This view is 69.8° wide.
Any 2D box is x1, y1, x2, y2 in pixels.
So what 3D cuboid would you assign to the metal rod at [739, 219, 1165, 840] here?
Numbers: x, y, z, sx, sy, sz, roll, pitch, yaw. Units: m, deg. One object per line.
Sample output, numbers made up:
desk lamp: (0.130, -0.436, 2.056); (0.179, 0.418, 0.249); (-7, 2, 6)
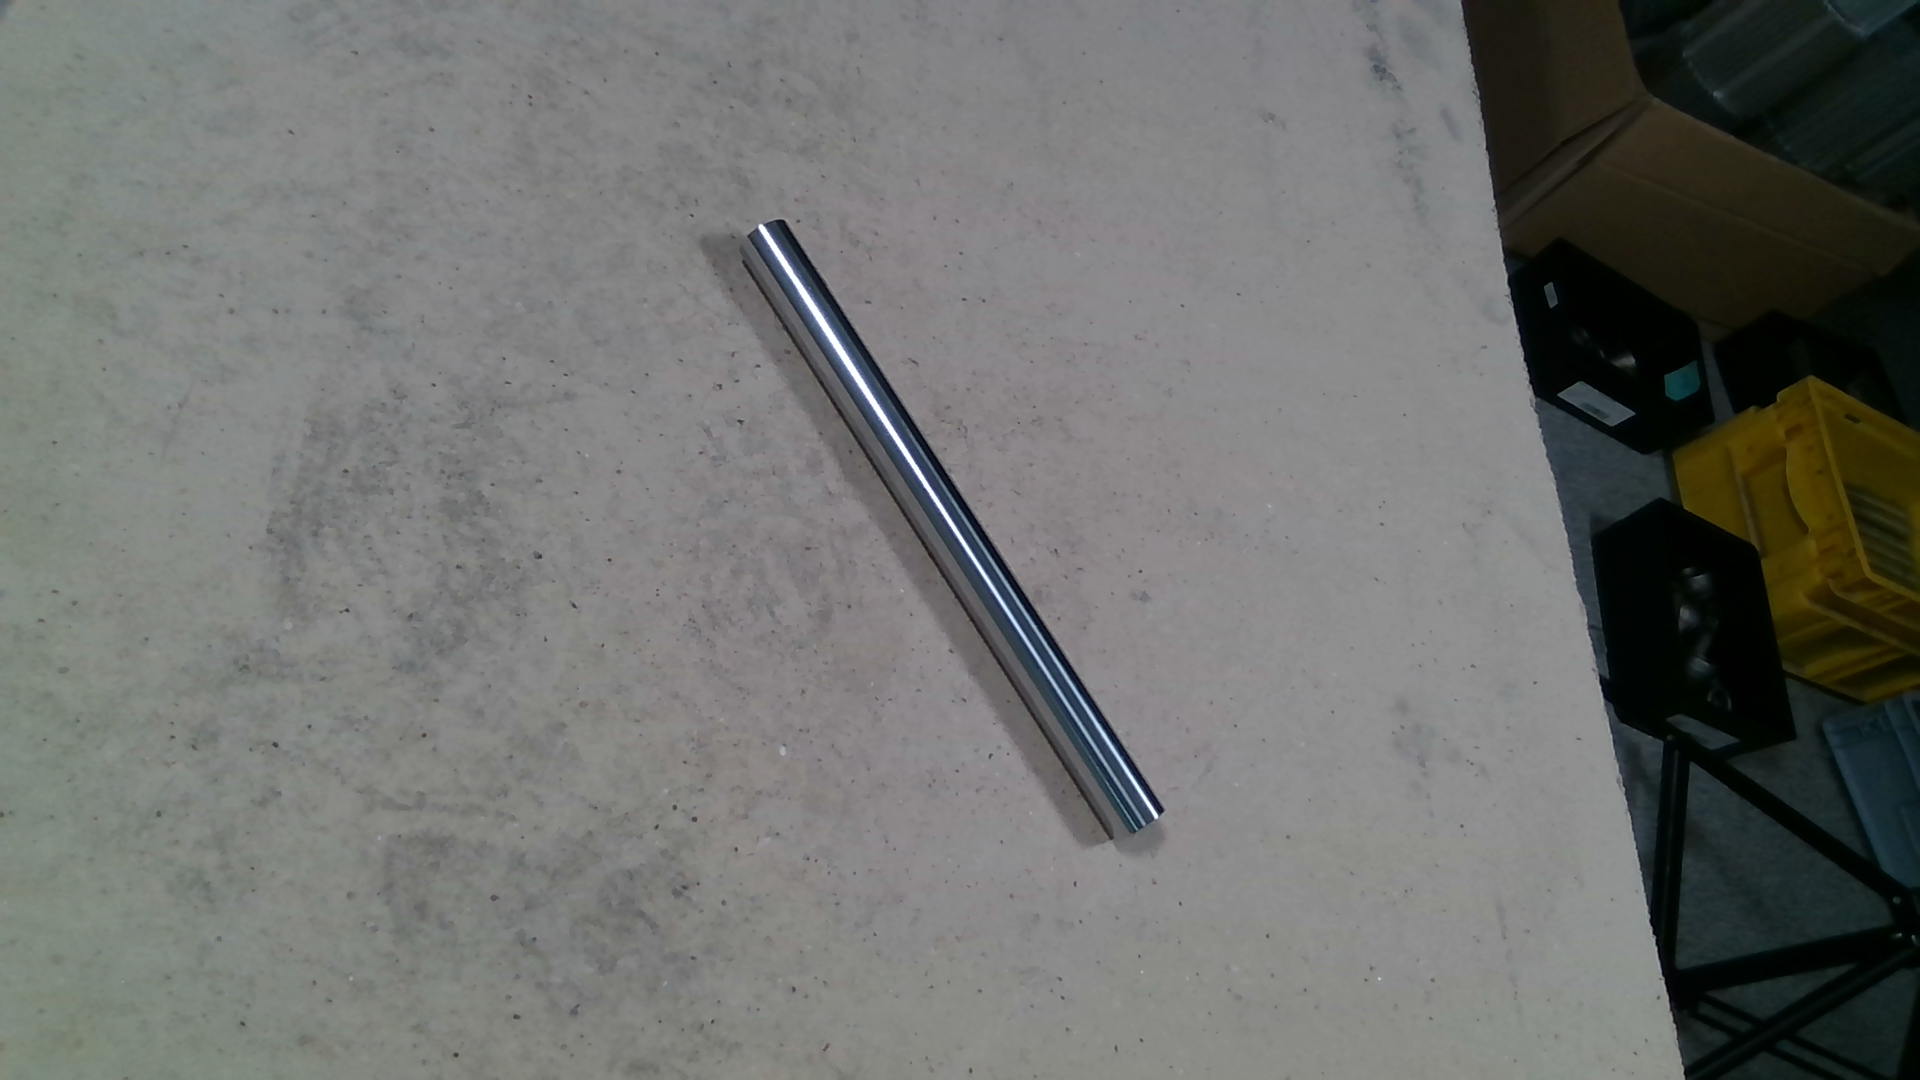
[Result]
metal rod: (-0.006, -0.008, 0.587); (0.025, 0.025, 0.300); (-27, 81, -38)
